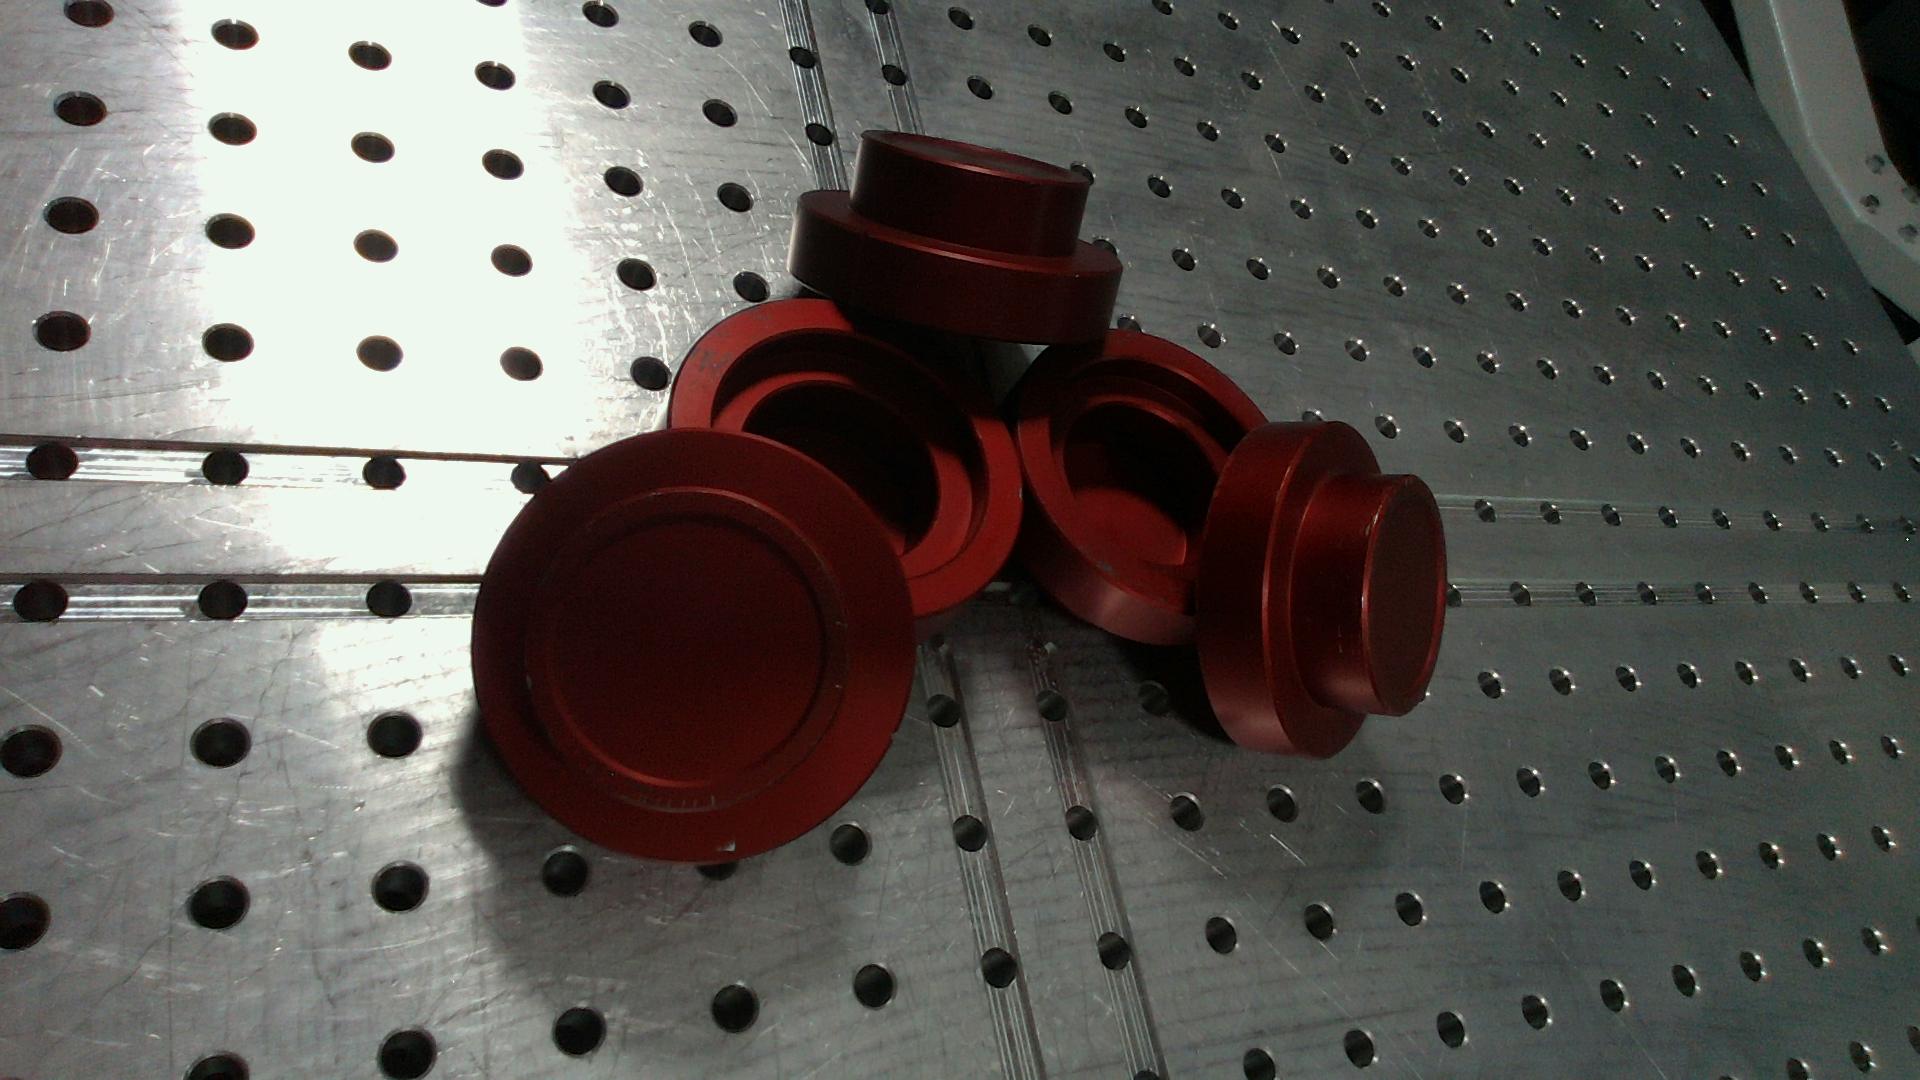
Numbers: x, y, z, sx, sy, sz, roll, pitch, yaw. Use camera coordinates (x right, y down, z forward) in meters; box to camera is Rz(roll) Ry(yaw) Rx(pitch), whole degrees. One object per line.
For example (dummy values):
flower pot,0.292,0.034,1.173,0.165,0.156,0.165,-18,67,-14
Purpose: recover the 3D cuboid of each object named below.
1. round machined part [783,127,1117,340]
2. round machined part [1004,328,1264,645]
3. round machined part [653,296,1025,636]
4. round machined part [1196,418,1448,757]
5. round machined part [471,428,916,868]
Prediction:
round machined part,-0.001,-0.093,0.406,0.098,0.042,0.098,10,21,-4
round machined part,0.051,-0.012,0.417,0.098,0.042,0.098,14,56,-21
round machined part,-0.035,-0.014,0.370,0.098,0.042,0.098,14,56,-21
round machined part,0.110,0.014,0.398,0.098,0.042,0.098,-2,93,-53
round machined part,-0.059,0.024,0.306,0.098,0.042,0.098,0,88,-6
